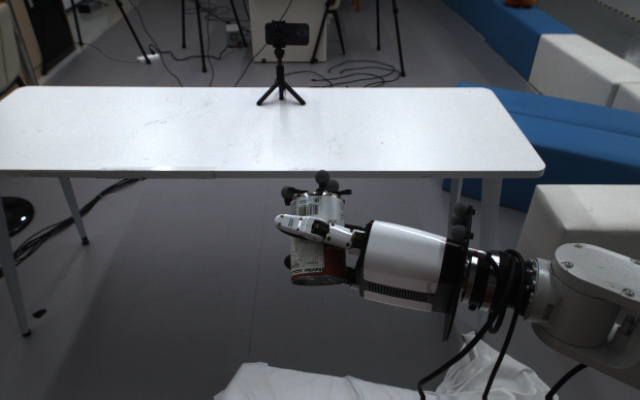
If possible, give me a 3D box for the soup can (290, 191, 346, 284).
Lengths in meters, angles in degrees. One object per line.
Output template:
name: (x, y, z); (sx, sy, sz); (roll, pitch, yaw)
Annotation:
soup can: (0.001, 0.047, 0.582); (0.067, 0.067, 0.101); (-2, 71, -5)
